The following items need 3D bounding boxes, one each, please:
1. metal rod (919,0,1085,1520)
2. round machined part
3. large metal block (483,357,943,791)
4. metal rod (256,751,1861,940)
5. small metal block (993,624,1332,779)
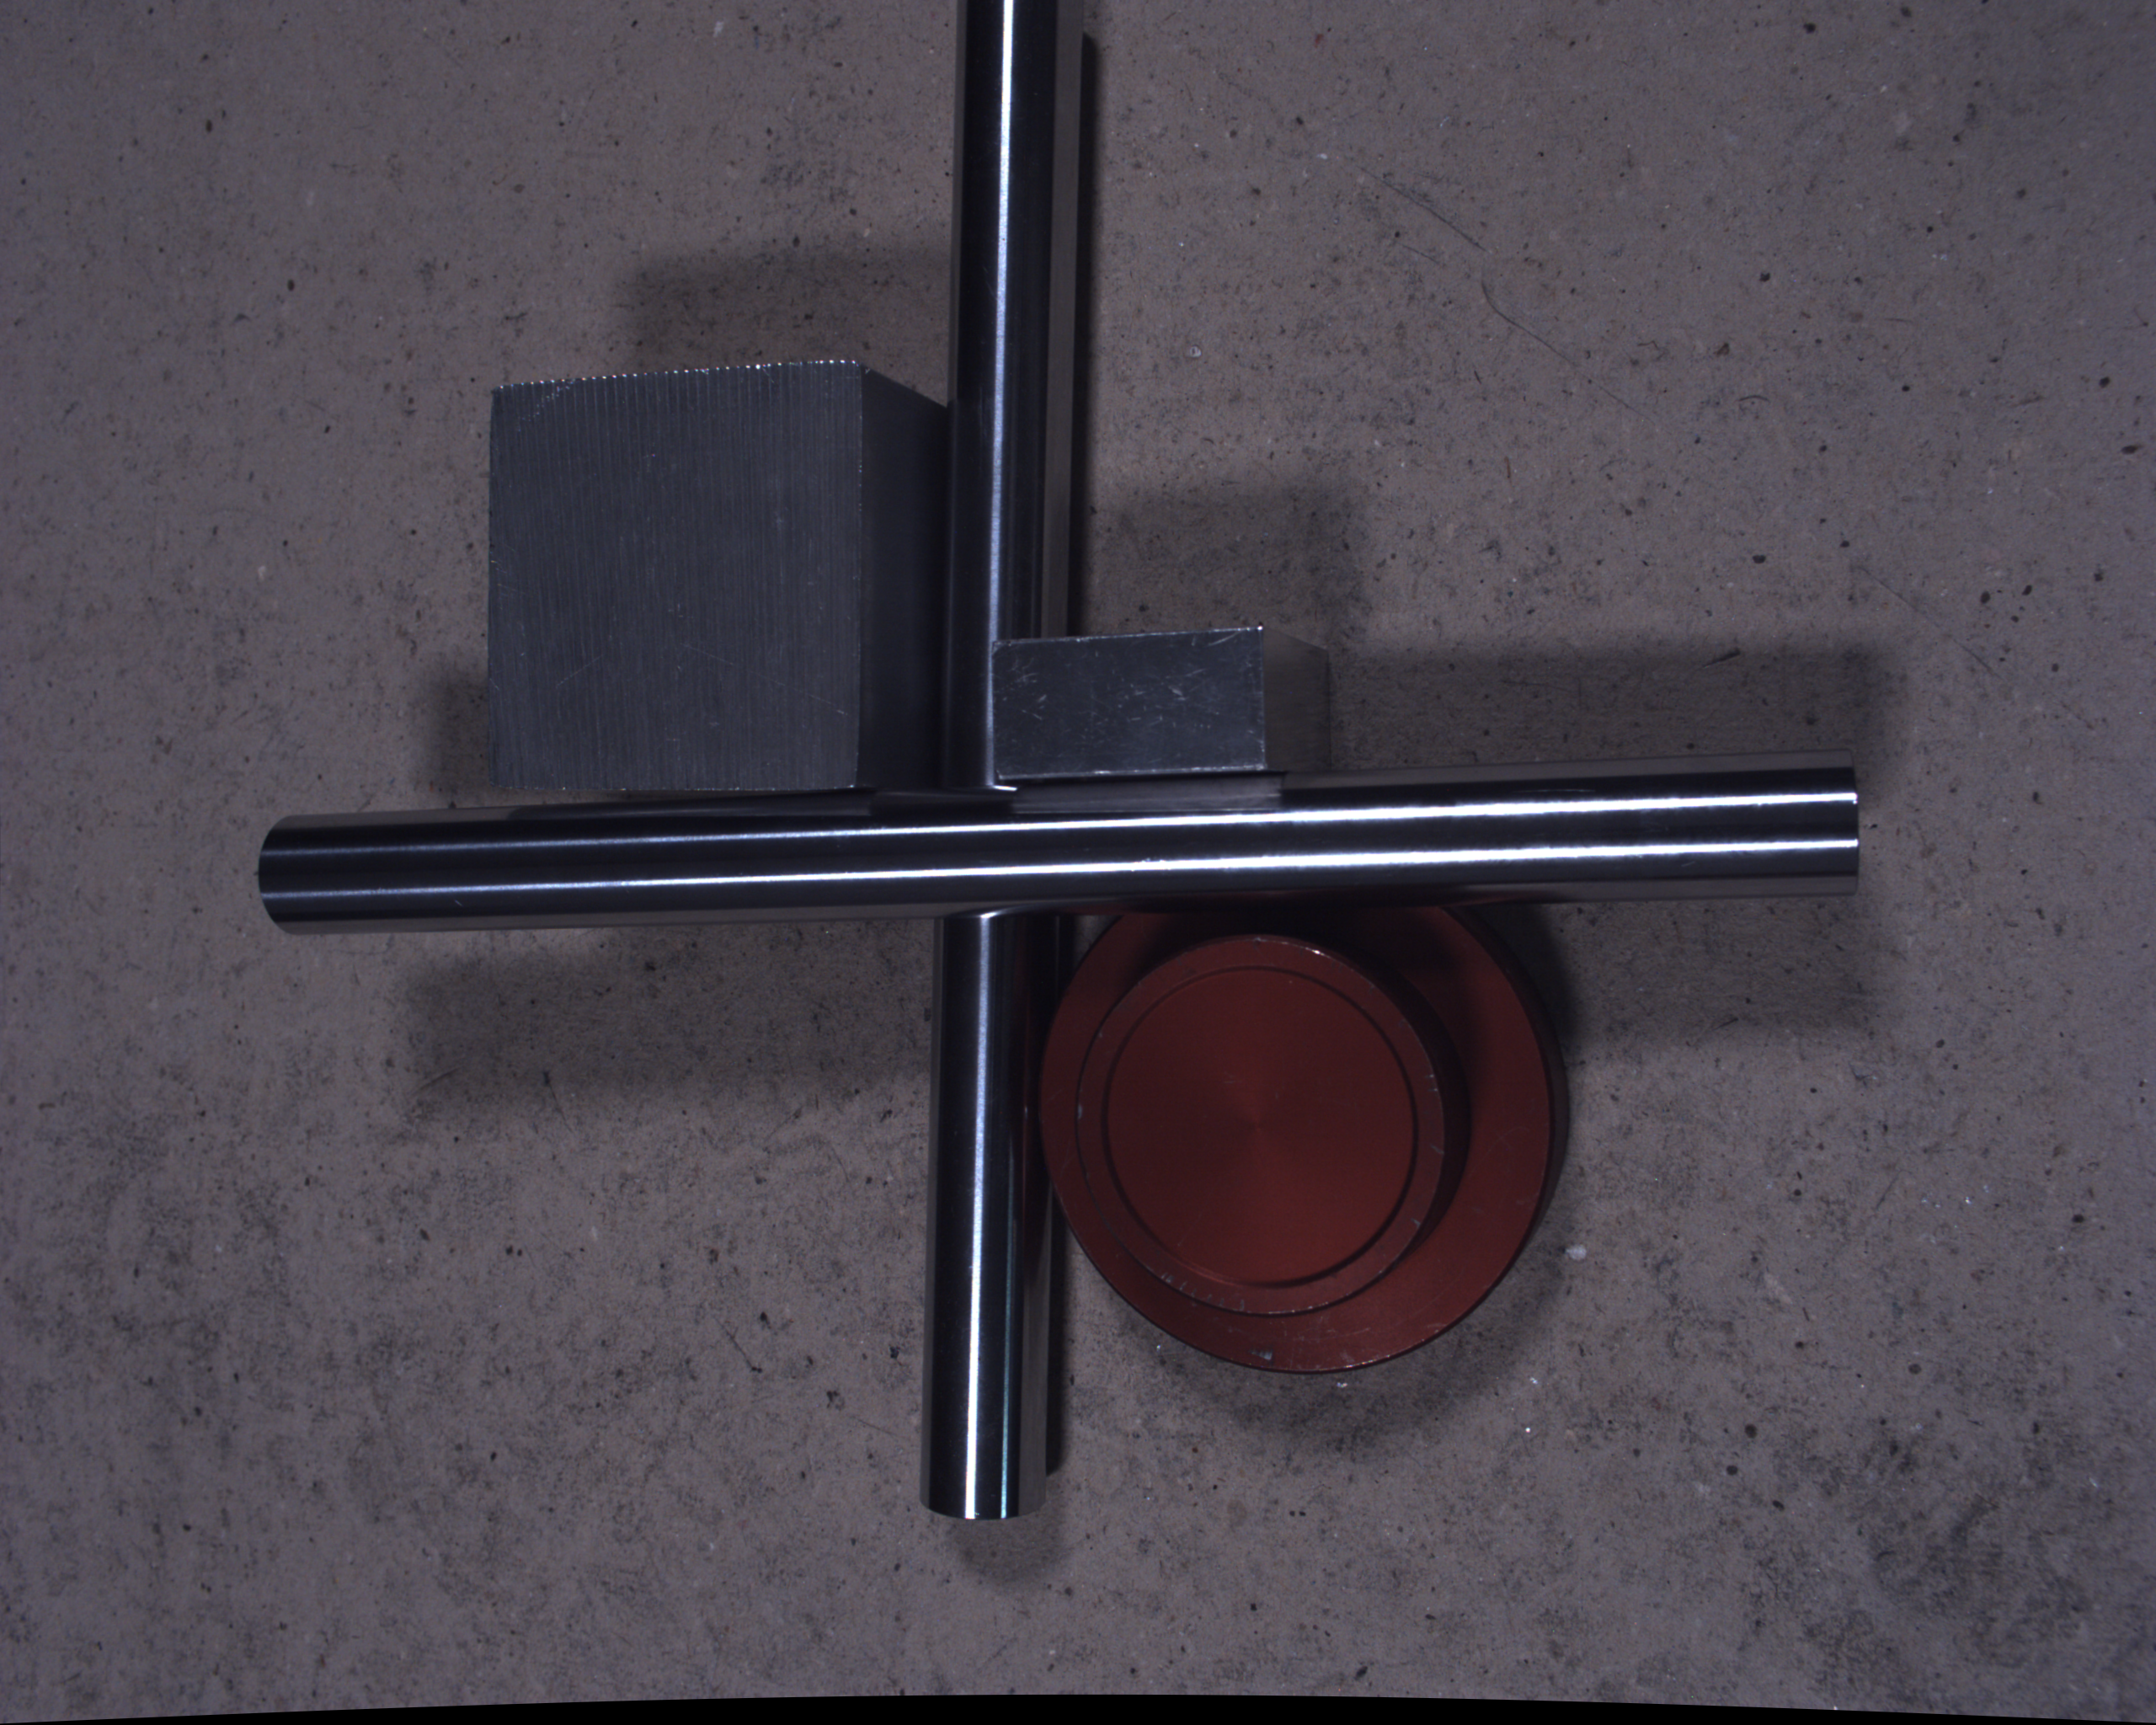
[{"bbox_3d":[-0.015,-0.022,0.414,0.025,0.025,0.298,2,91,19],"label":"metal rod"},{"bbox_3d":[0.038,0.047,0.386,0.098,0.042,0.097,0,90,19],"label":"round machined part"},{"bbox_3d":[-0.070,-0.054,0.420,0.080,0.050,0.079,1,90,19],"label":"large metal block"},{"bbox_3d":[-0.015,-0.001,0.388,0.301,0.025,0.025,-2,90,15],"label":"metal rod"},{"bbox_3d":[0.017,-0.028,0.390,0.050,0.050,0.025,-1,90,19],"label":"small metal block"}]
